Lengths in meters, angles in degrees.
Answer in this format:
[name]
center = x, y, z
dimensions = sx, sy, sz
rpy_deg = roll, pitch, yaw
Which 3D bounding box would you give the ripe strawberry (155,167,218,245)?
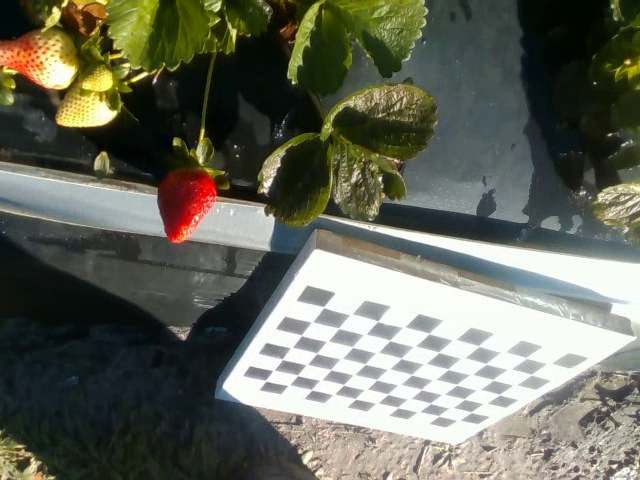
[ripe strawberry]
center = -0.072, -0.018, 0.323
dimensions = 0.036, 0.046, 0.038
rpy_deg = 18, -26, -13
